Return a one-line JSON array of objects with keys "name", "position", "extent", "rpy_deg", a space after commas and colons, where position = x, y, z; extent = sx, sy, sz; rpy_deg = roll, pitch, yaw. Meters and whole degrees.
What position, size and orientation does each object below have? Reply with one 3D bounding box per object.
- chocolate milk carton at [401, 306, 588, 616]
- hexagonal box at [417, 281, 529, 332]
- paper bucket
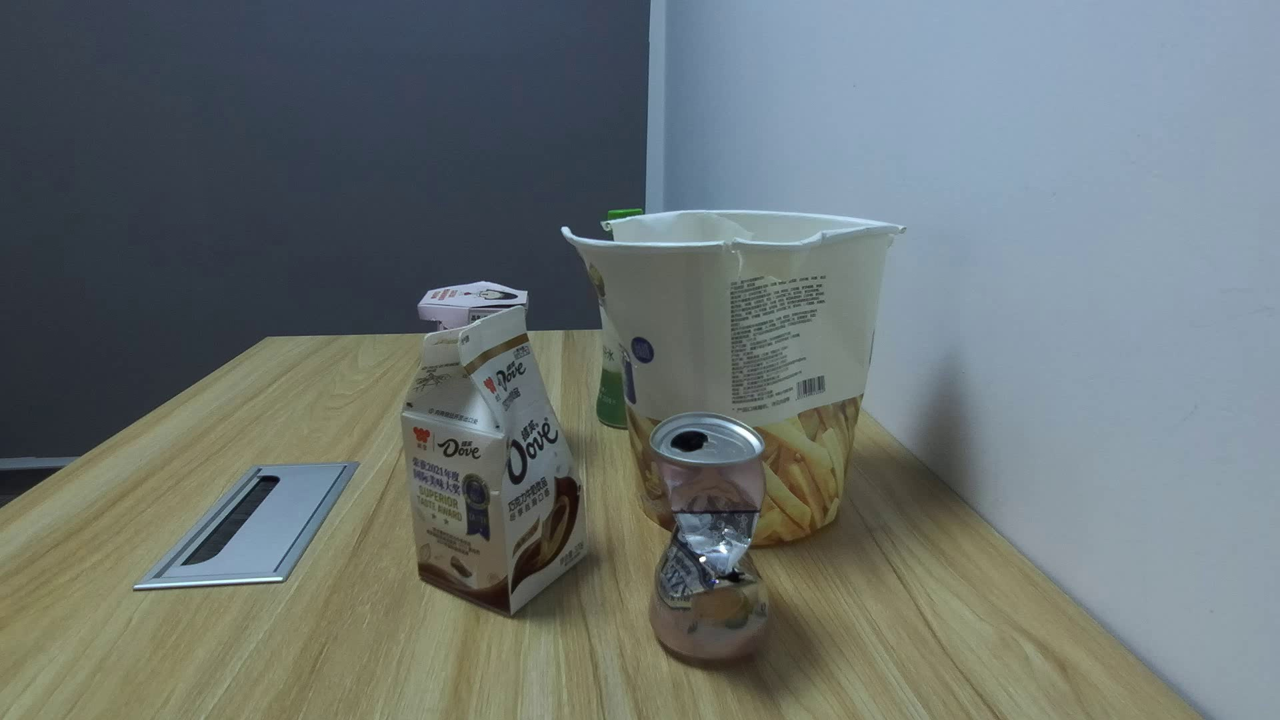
[{"name": "chocolate milk carton", "position": [-0.079, 0.050, 0.403], "extent": [0.072, 0.155, 0.084], "rpy_deg": [11, 21, 30]}, {"name": "hexagonal box", "position": [-0.127, 0.012, 0.563], "extent": [0.089, 0.134, 0.091], "rpy_deg": [16, 23, 32]}, {"name": "paper bucket", "position": [0.065, 0.003, 0.479], "extent": [0.145, 0.197, 0.203], "rpy_deg": [14, 22, 42]}]
